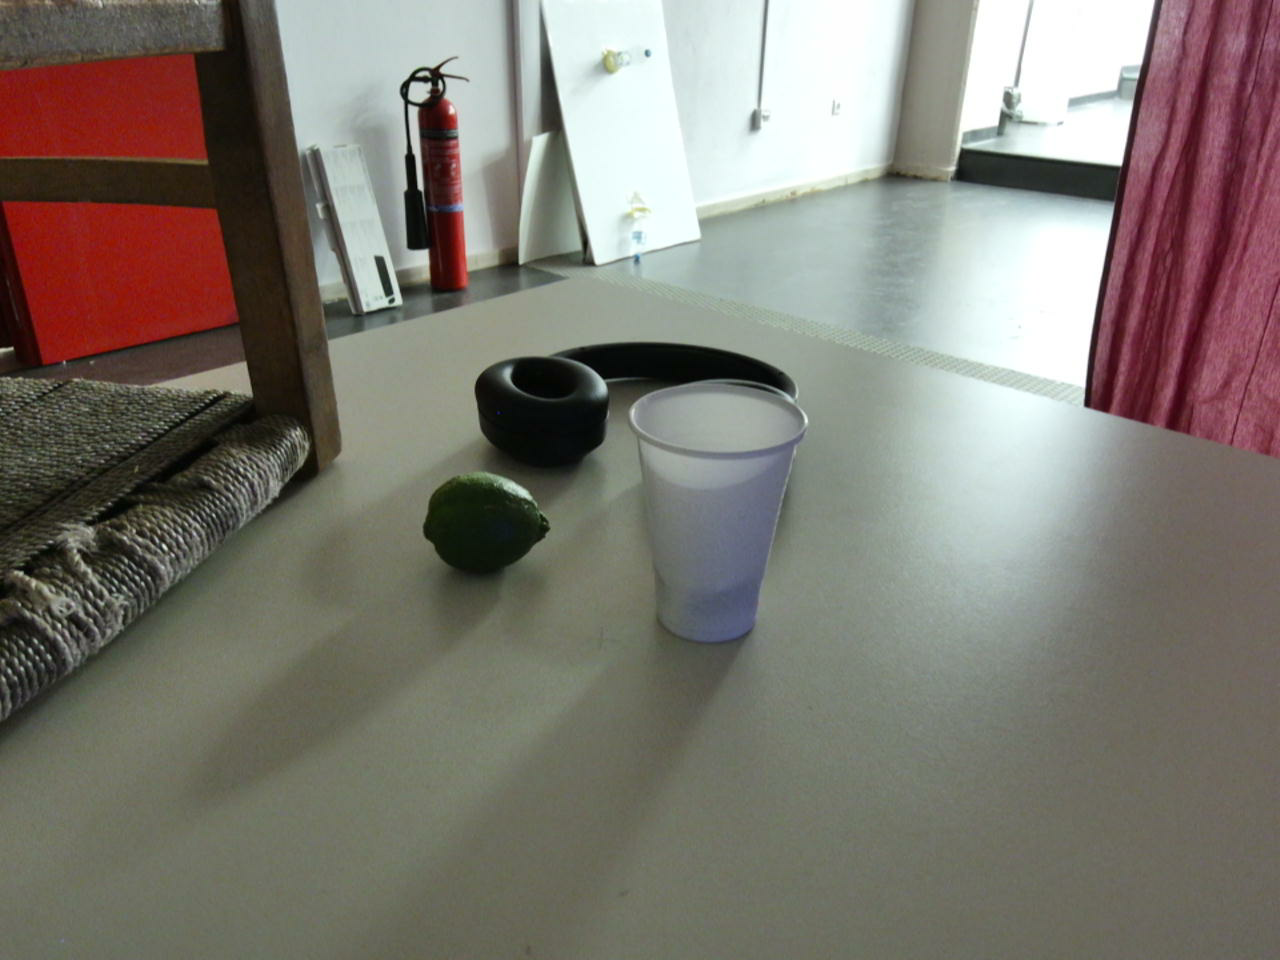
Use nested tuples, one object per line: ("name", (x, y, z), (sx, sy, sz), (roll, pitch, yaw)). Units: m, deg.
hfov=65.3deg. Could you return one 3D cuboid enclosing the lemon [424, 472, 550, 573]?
("lemon", (-0.081, 0.021, 0.508), (0.054, 0.051, 0.057), (17, 29, 33))
